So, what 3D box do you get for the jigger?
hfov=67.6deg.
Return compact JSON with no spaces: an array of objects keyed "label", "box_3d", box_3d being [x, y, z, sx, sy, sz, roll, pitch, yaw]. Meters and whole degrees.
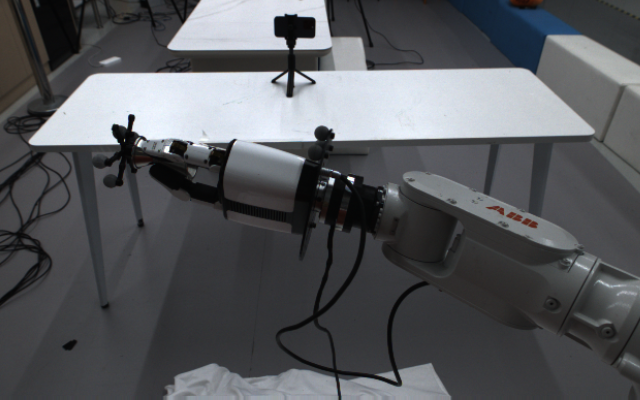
[{"label":"jigger","box_3d":[-0.178,-0.054,0.583,0.071,0.043,0.043,10,35,2]}]
